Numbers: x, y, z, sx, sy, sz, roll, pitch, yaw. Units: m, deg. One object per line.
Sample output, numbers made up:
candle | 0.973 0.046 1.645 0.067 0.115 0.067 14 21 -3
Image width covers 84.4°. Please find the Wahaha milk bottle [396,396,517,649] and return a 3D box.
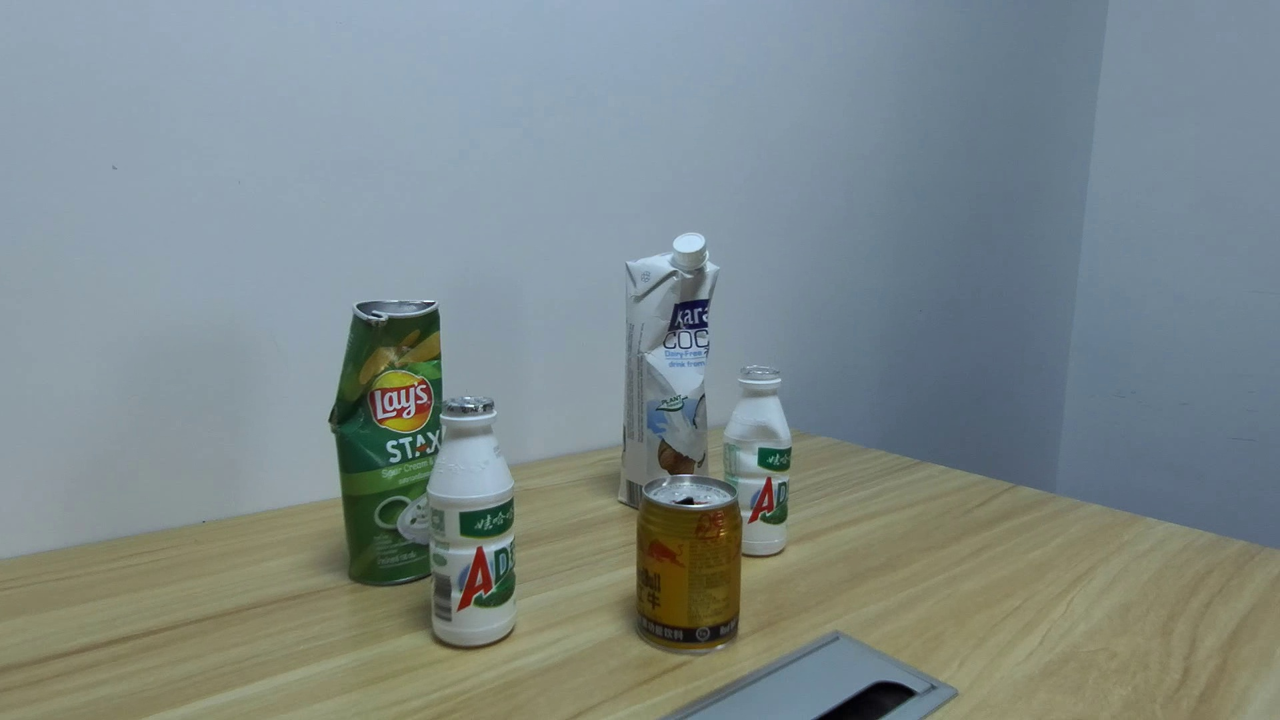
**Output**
Wahaha milk bottle | -0.104 0.098 0.436 0.053 0.147 0.053 -1 8 0

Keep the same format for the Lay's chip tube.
Lay's chip tube | -0.183 0.059 0.522 0.069 0.201 0.077 -1 10 -8

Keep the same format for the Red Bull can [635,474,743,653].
Red Bull can | 0.031 0.126 0.445 0.067 0.093 0.067 1 9 0

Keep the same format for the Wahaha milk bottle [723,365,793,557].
Wahaha milk bottle | 0.094 0.080 0.565 0.055 0.149 0.055 1 11 0
